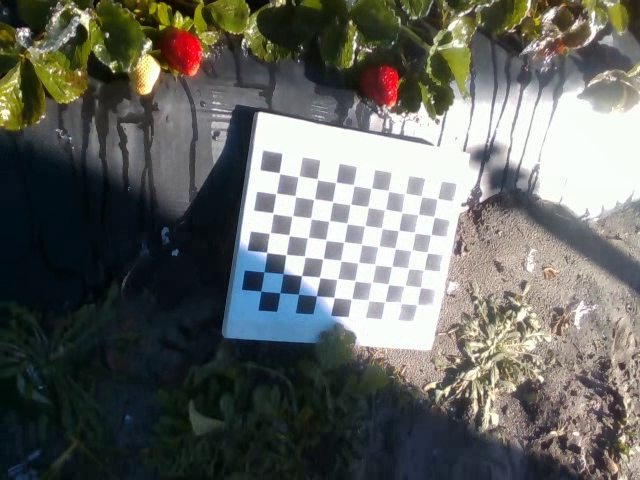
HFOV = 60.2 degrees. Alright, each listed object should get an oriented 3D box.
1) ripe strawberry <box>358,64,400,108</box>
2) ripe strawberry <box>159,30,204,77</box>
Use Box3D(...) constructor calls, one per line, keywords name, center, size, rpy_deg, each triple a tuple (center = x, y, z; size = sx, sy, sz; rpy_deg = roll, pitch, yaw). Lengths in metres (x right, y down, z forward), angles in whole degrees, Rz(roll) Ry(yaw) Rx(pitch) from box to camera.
Box3D(name="ripe strawberry", center=(0.075, -0.182, 0.650), size=(0.048, 0.061, 0.044), rpy_deg=(-2, -22, -20))
Box3D(name="ripe strawberry", center=(-0.141, -0.189, 0.576), size=(0.042, 0.061, 0.046), rpy_deg=(-10, -29, -18))
